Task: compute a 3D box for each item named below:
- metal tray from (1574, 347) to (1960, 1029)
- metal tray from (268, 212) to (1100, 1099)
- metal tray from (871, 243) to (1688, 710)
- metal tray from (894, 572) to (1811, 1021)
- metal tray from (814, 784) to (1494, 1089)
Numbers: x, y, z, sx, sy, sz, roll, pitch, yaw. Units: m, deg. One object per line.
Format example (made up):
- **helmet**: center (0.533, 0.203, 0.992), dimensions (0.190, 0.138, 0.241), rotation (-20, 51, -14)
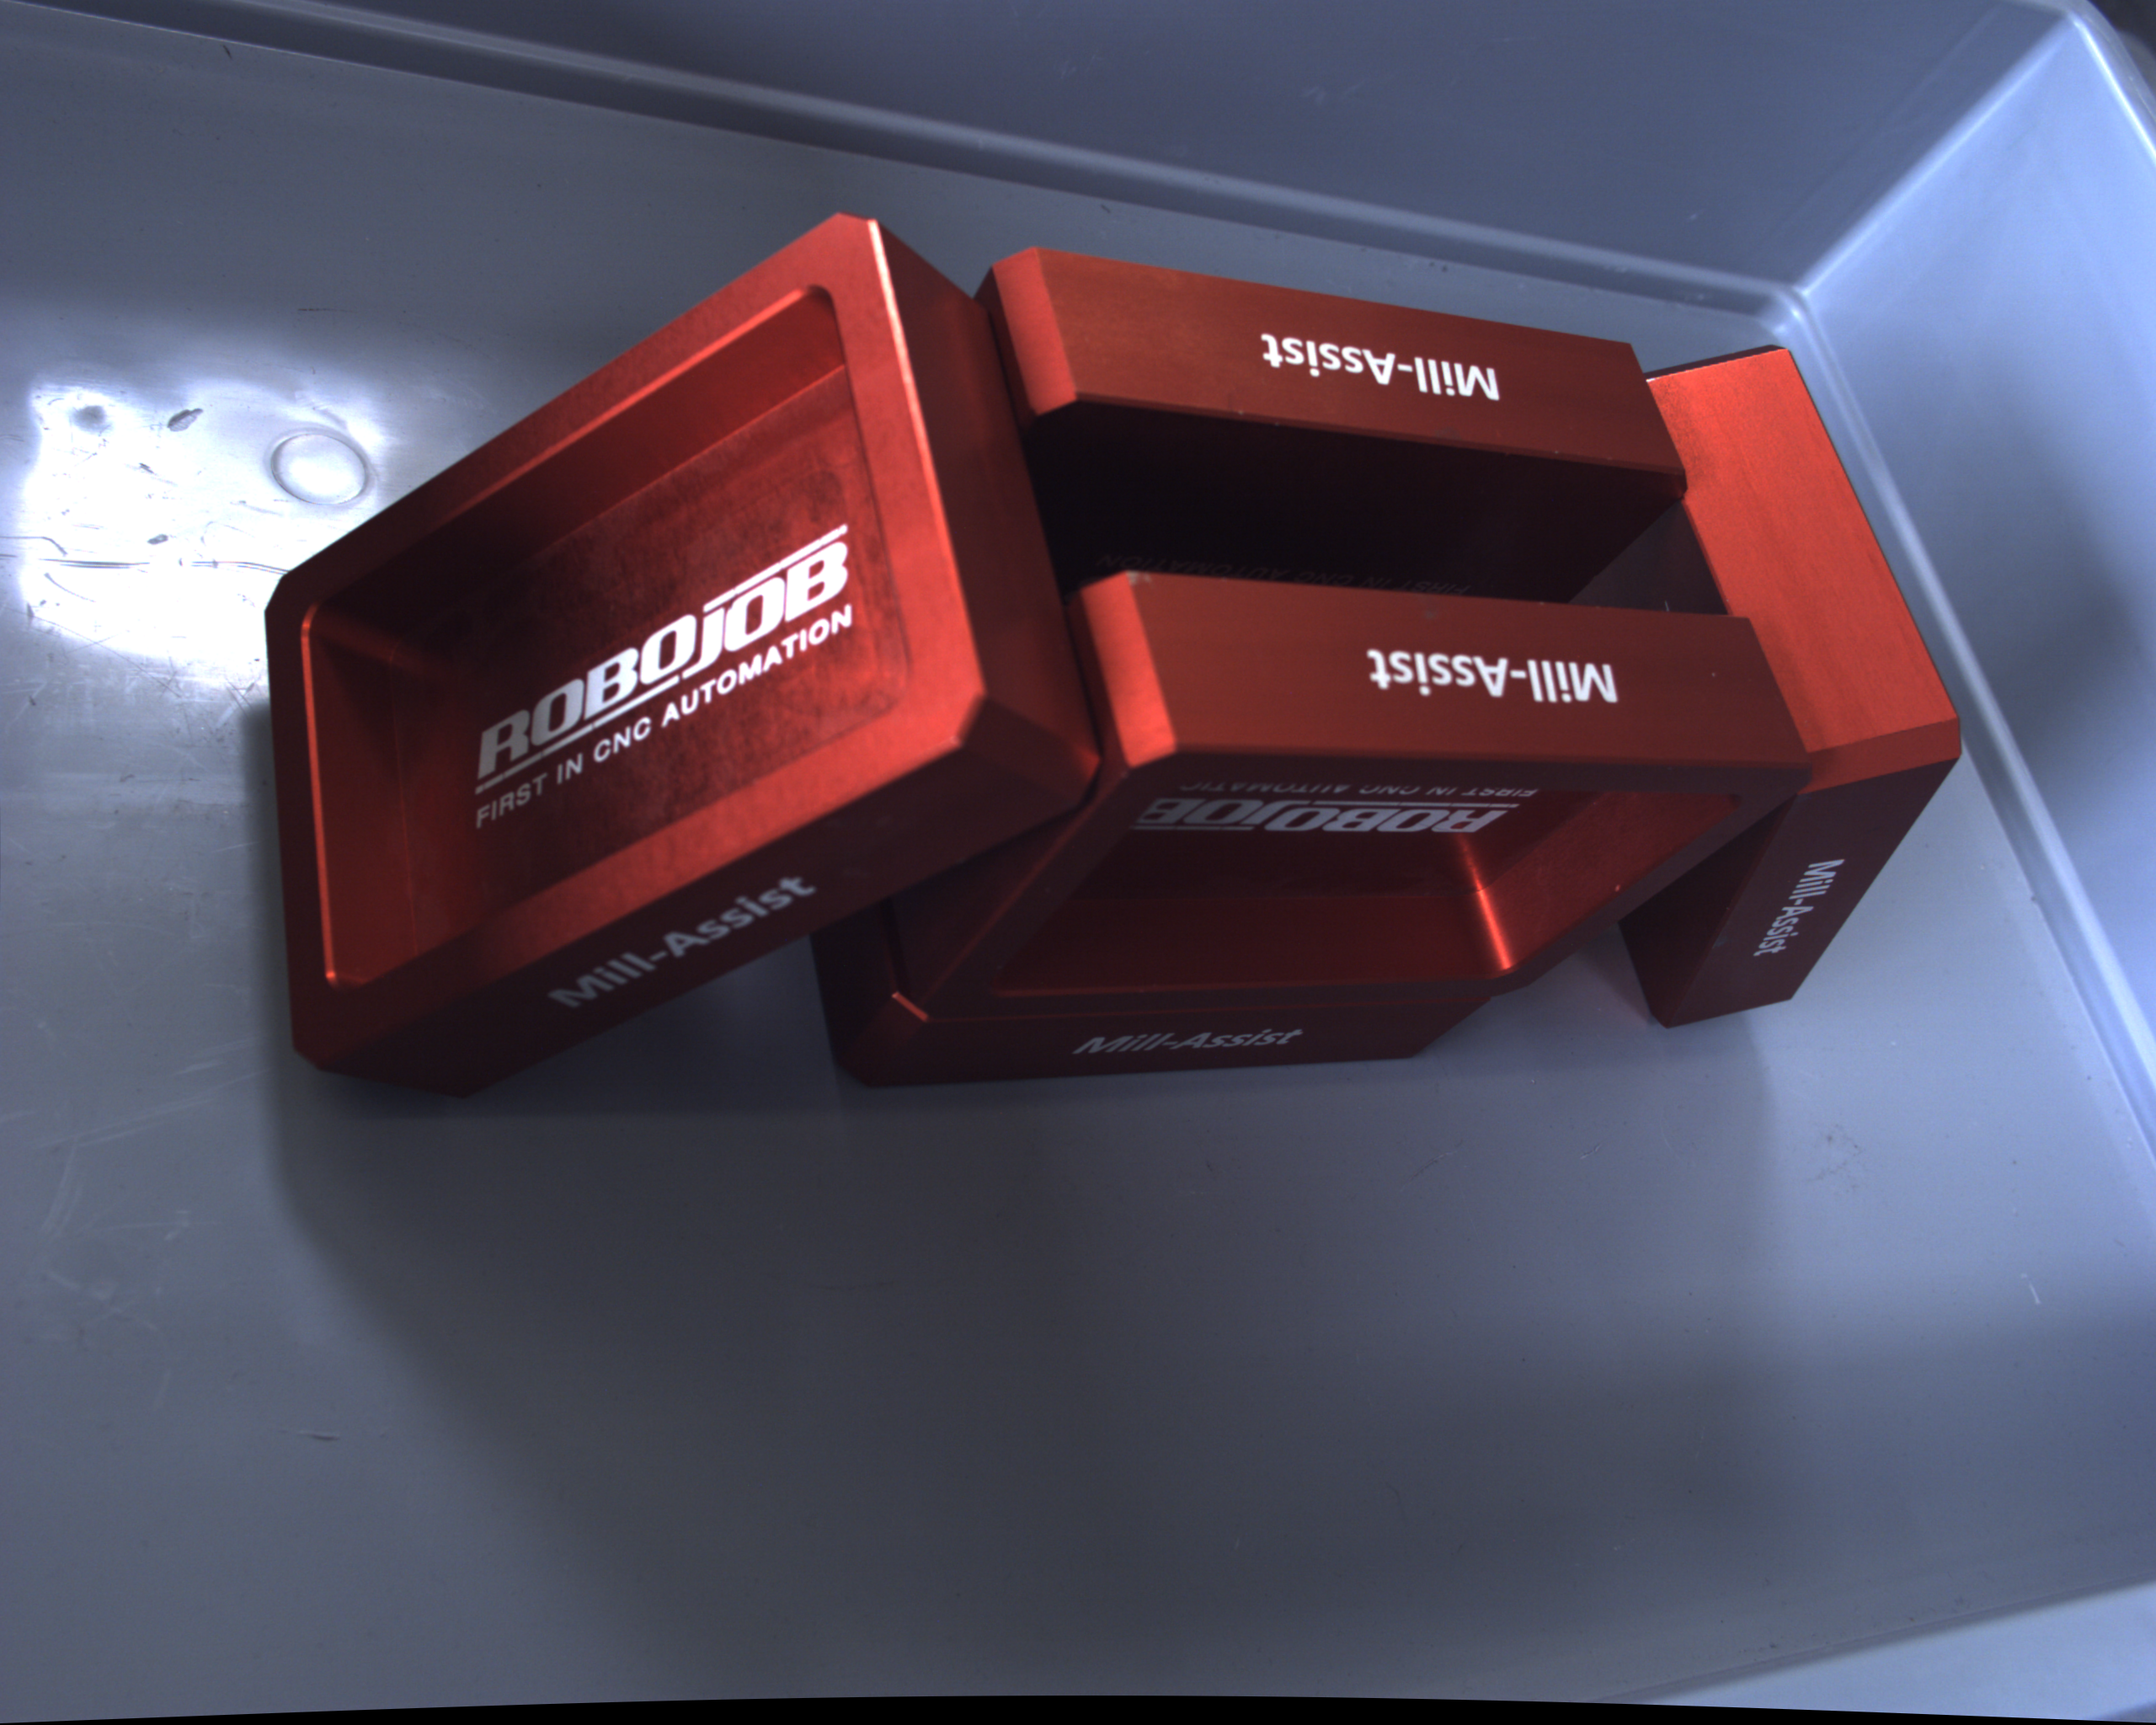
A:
- **metal tray**: center (0.130, -0.030, 0.426), dimensions (0.030, 0.130, 0.090), rotation (-13, 66, -1)
- **metal tray**: center (-0.067, -0.028, 0.320), dimensions (0.030, 0.130, 0.090), rotation (26, 45, -55)
- **metal tray**: center (0.031, -0.061, 0.376), dimensions (0.131, 0.090, 0.030), rotation (0, 62, -28)
- **metal tray**: center (0.044, -0.007, 0.351), dimensions (0.131, 0.090, 0.030), rotation (0, 62, -29)
- **metal tray**: center (0.011, -0.006, 0.410), dimensions (0.131, 0.030, 0.090), rotation (0, 62, -29)
